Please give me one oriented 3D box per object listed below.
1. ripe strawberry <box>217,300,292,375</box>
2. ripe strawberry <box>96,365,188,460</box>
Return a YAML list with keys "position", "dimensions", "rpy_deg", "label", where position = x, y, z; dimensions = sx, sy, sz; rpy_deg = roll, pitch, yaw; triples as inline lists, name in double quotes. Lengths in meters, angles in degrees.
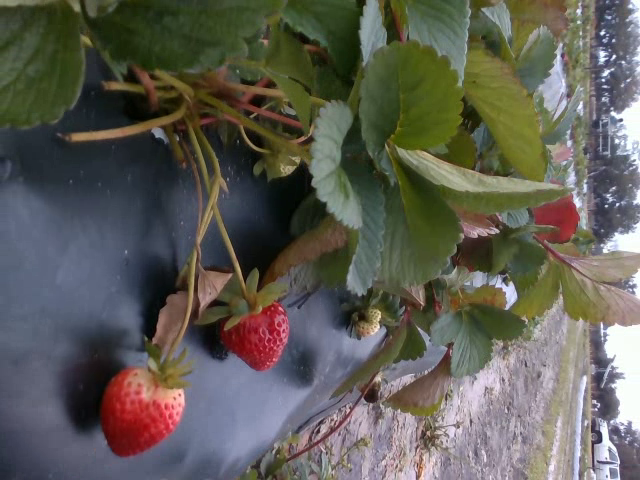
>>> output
- position: [-0.031, 0.050, 0.316]
  dimensions: [0.044, 0.059, 0.042]
  rpy_deg: [-19, 44, -22]
  label: "ripe strawberry"
- position: [-0.071, 0.073, 0.250]
  dimensions: [0.027, 0.041, 0.036]
  rpy_deg: [34, 7, 30]
  label: "ripe strawberry"
